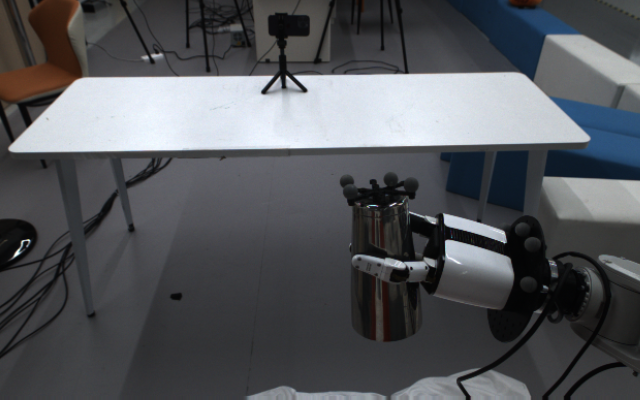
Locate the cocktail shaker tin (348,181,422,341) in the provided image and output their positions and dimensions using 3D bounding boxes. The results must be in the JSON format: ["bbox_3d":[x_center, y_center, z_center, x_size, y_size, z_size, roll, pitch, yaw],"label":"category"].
[{"bbox_3d":[0.080,0.077,0.602,0.093,0.170,0.093,-6,19,2],"label":"cocktail shaker tin"}]
